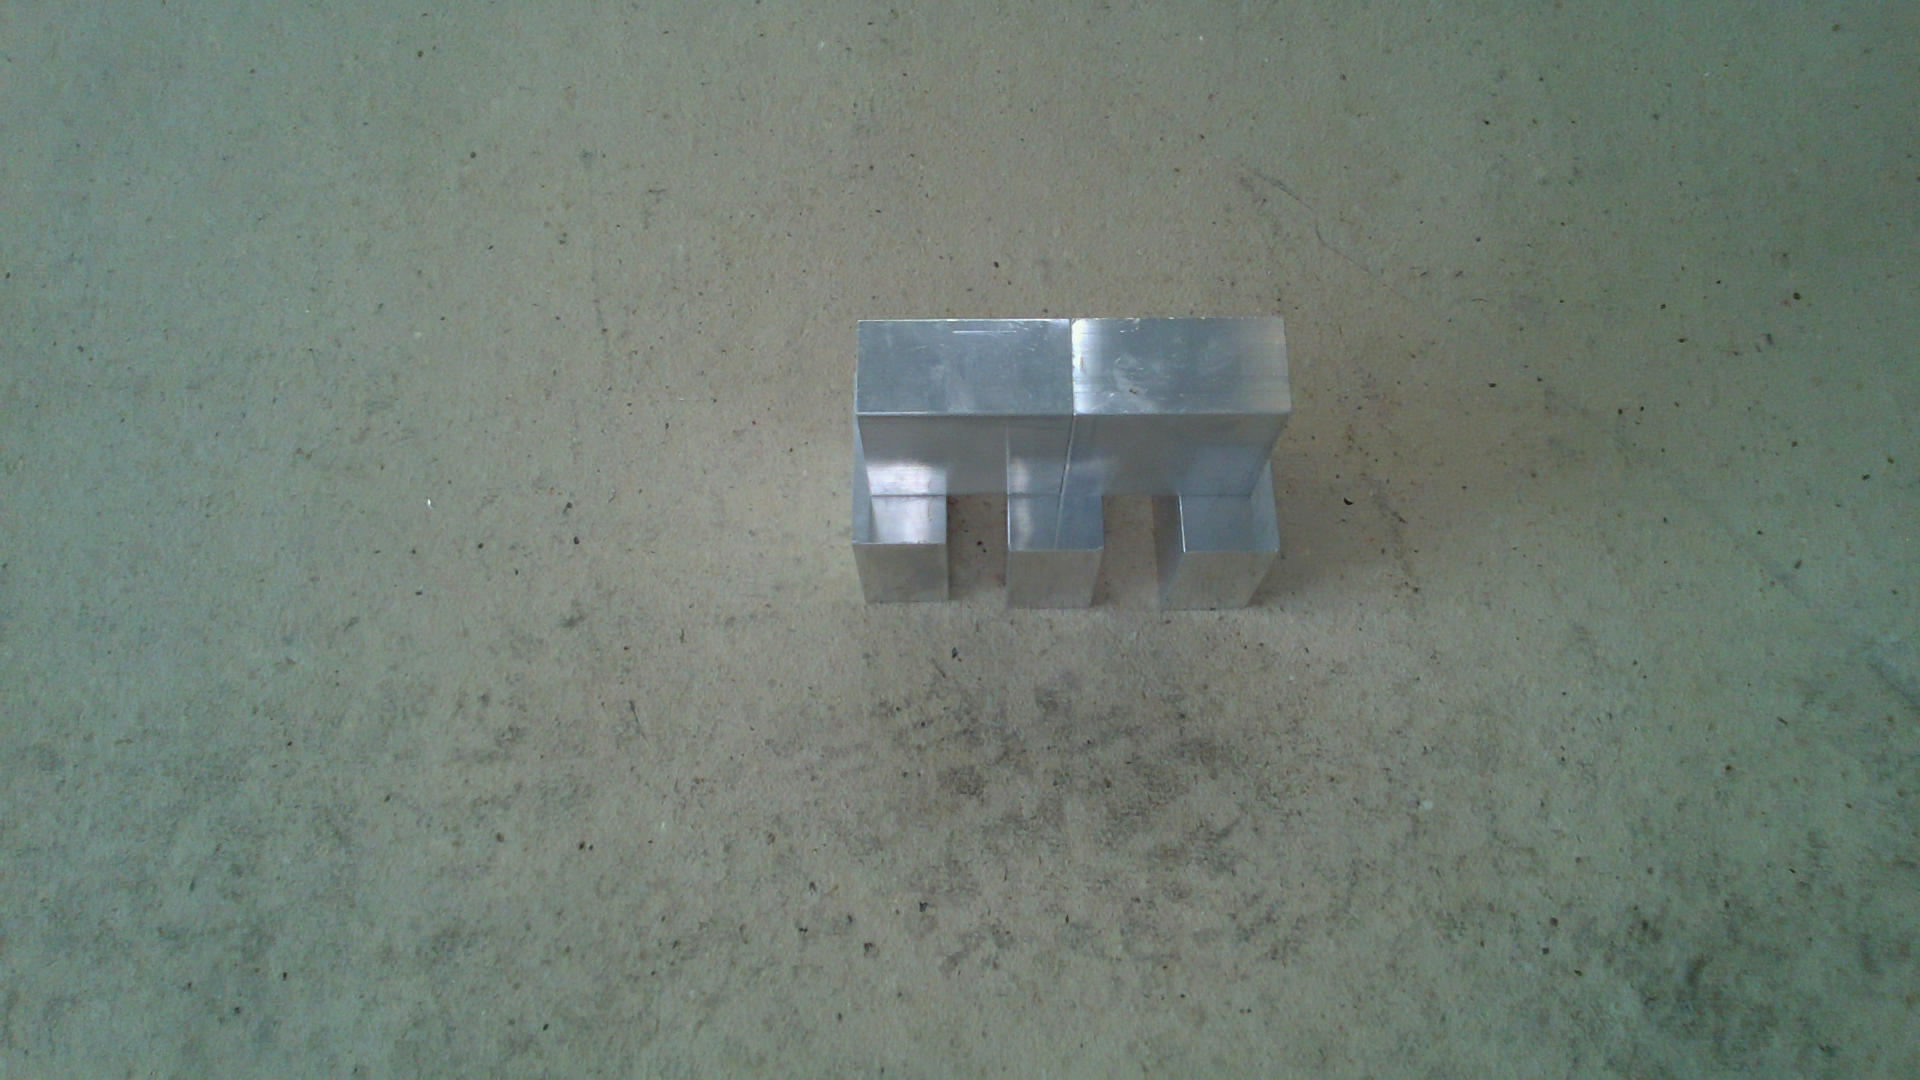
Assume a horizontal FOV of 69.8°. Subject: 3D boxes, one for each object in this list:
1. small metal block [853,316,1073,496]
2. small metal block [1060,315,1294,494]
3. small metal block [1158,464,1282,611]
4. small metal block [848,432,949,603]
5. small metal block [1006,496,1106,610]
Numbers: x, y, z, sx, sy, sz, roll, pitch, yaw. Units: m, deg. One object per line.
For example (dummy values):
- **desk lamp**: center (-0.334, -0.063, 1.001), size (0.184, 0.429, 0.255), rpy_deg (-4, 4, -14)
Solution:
- **small metal block**: center (0.001, -0.032, 0.341), size (0.050, 0.050, 0.025), rpy_deg (0, 70, 0)
- **small metal block**: center (0.051, -0.032, 0.340), size (0.050, 0.050, 0.025), rpy_deg (0, 70, 0)
- **small metal block**: center (0.070, -0.012, 0.387), size (0.025, 0.050, 0.050), rpy_deg (-2, 70, 0)
- **small metal block**: center (-0.016, -0.014, 0.386), size (0.025, 0.050, 0.050), rpy_deg (-1, 70, 1)
- **small metal block**: center (0.025, -0.012, 0.387), size (0.025, 0.050, 0.050), rpy_deg (-2, 70, 0)
